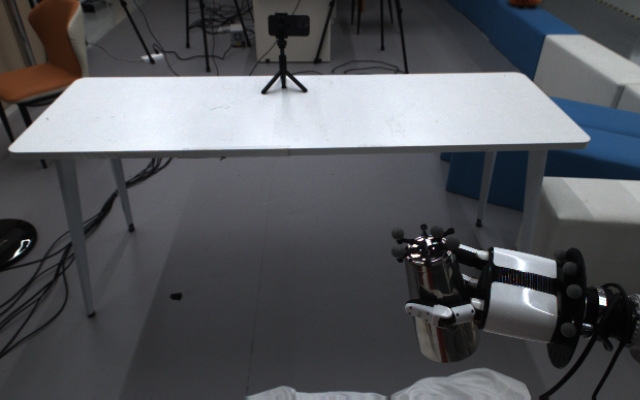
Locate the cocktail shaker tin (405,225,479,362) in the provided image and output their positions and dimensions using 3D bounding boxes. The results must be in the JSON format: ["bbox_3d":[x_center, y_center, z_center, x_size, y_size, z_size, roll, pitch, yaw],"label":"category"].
[{"bbox_3d":[0.167,0.135,0.681,0.093,0.170,0.093,-15,28,8],"label":"cocktail shaker tin"}]
